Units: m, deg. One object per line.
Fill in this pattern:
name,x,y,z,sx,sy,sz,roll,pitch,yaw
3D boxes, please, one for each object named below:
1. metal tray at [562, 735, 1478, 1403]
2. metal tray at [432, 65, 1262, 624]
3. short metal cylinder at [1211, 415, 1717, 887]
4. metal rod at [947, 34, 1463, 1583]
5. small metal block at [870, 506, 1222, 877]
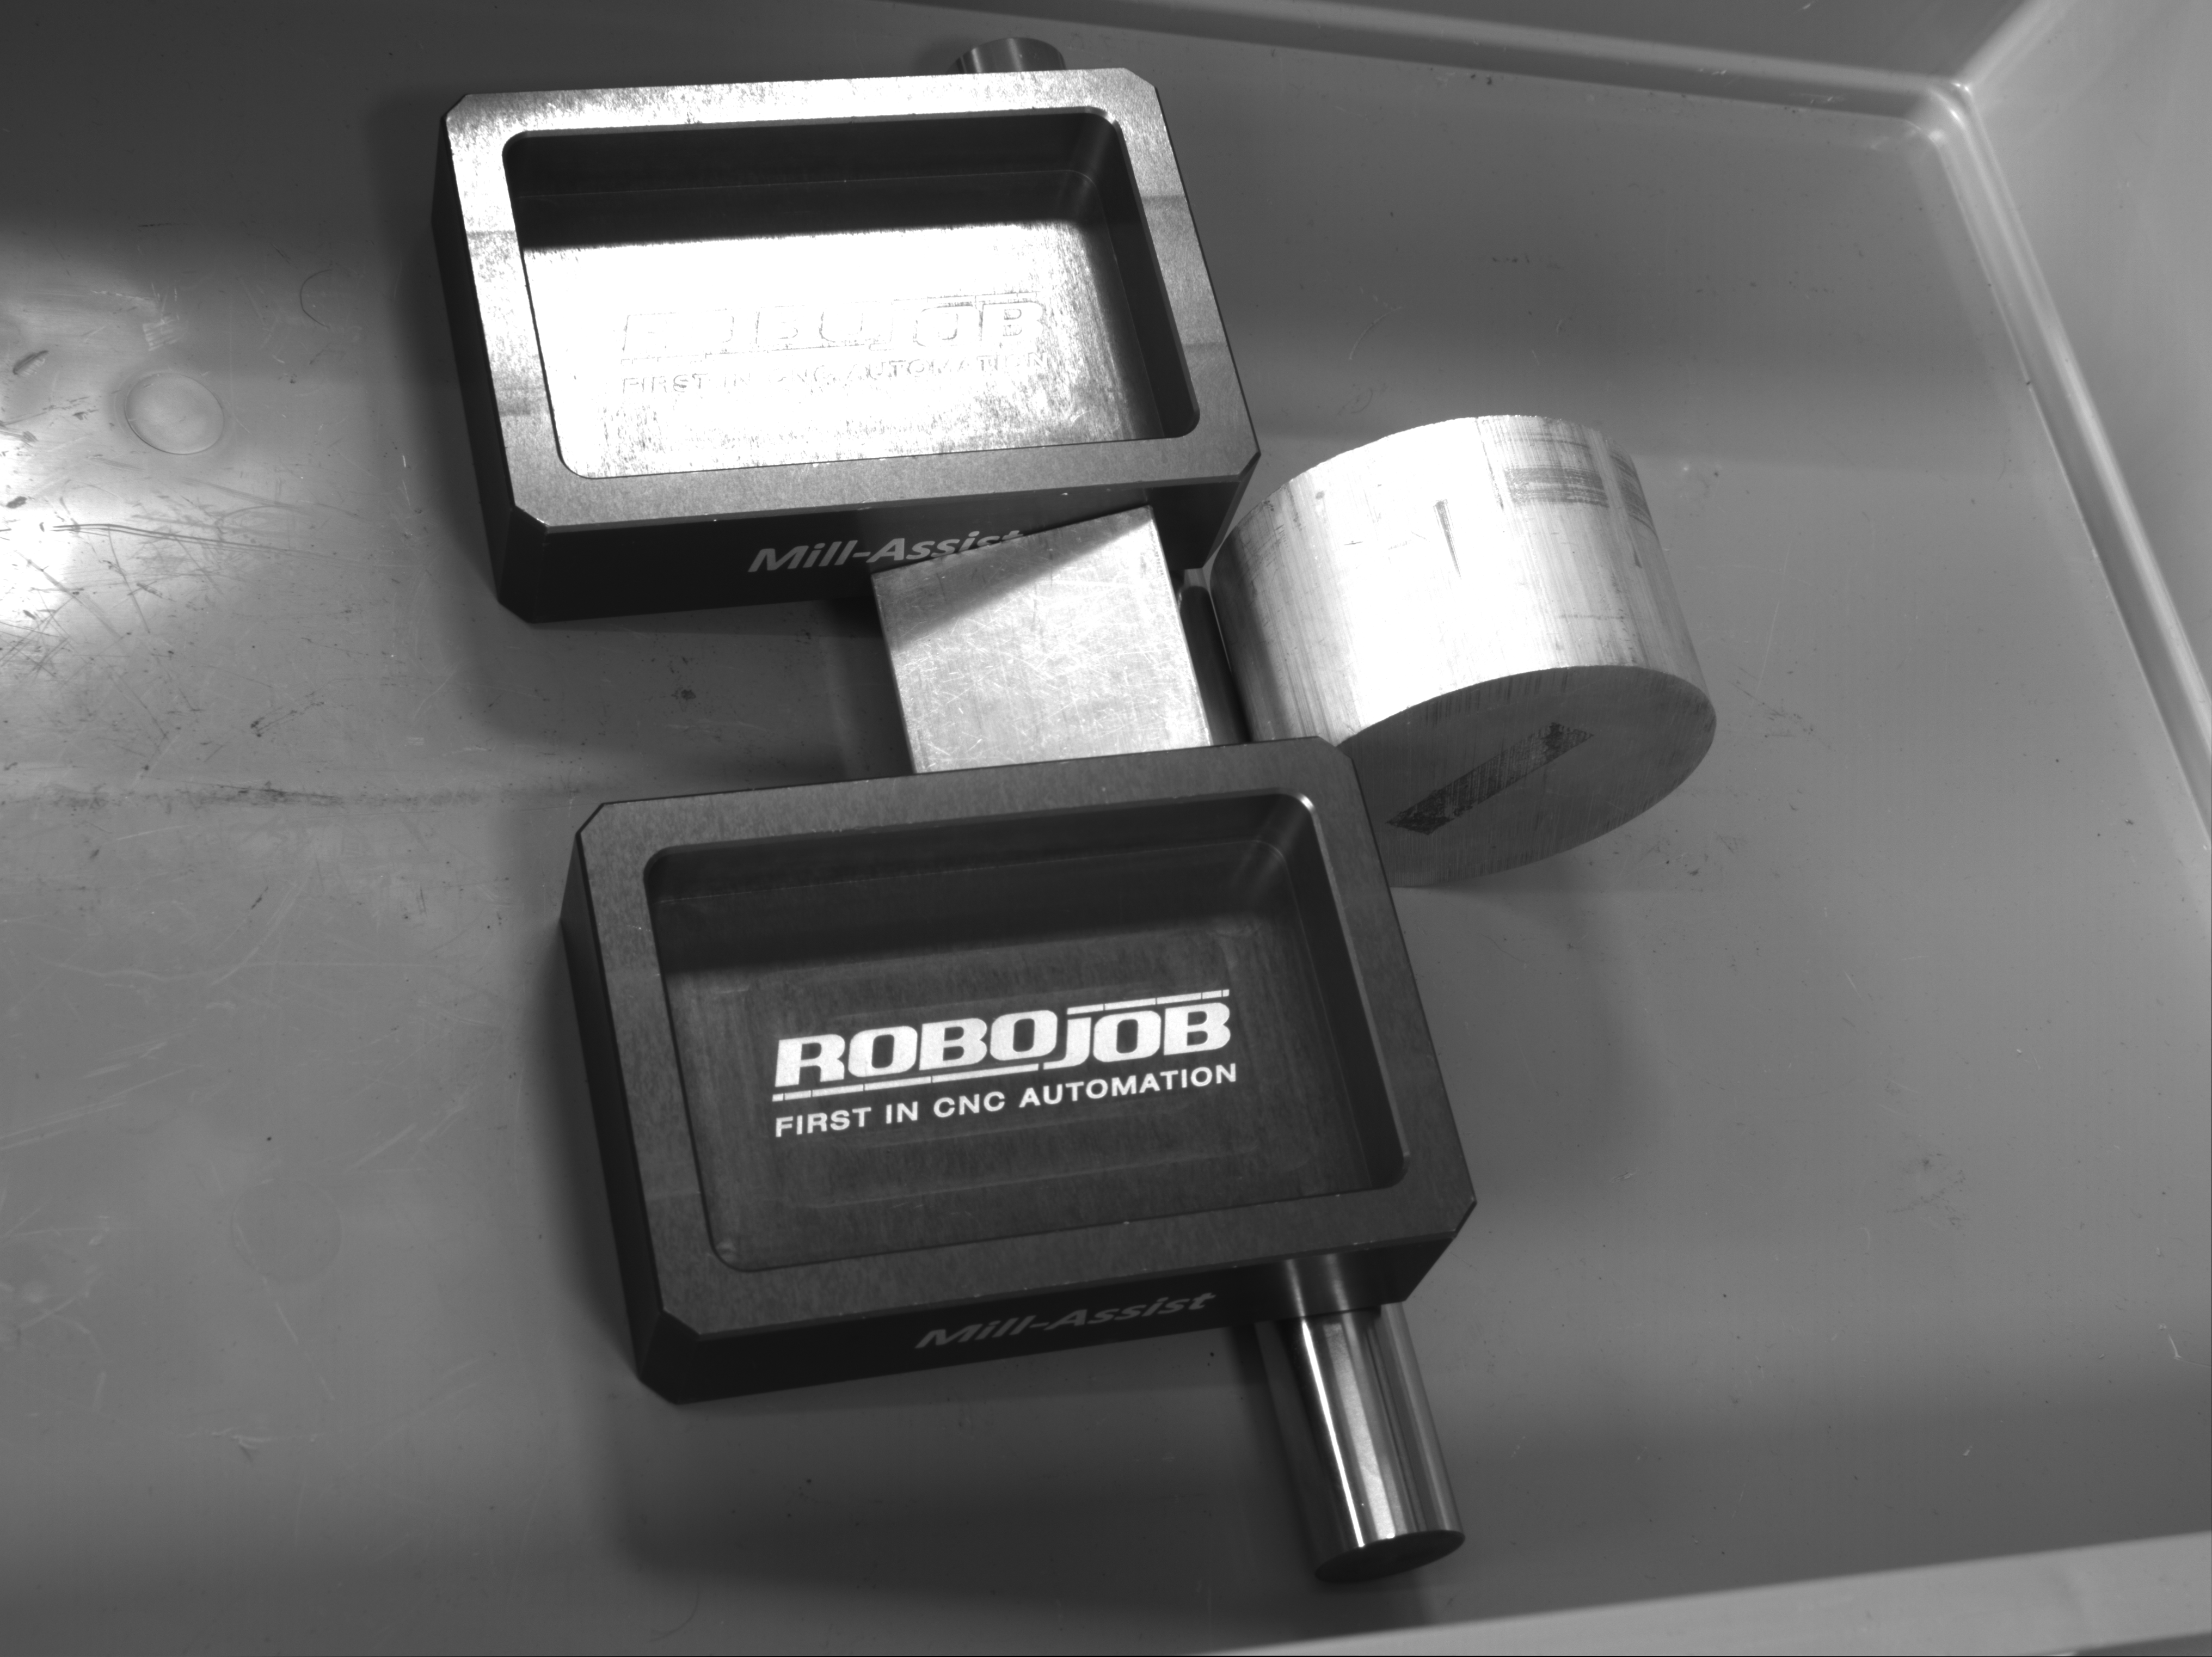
metal tray,-0.015,0.036,0.587,0.130,0.030,0.090,-6,64,-17
metal tray,-0.047,-0.087,0.645,0.130,0.030,0.090,-6,64,-17
short metal cylinder,0.063,-0.030,0.655,0.080,0.080,0.050,0,61,-28
metal rod,0.013,-0.015,0.653,0.025,0.025,0.300,0,62,-28
small metal block,-0.010,-0.022,0.633,0.050,0.025,0.050,-14,65,0
